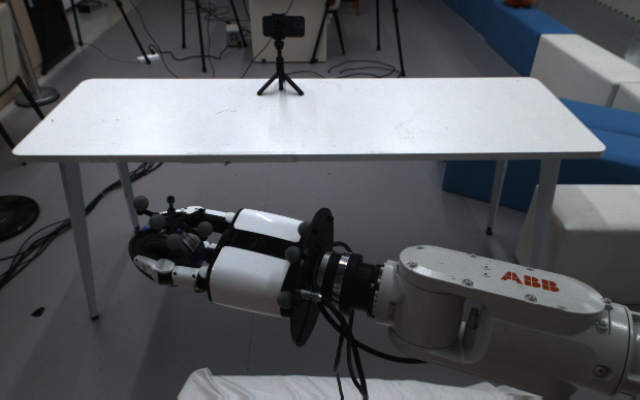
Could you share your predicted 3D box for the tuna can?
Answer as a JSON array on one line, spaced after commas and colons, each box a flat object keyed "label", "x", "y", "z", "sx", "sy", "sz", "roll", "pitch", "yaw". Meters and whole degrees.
[{"label": "tuna can", "x": -0.182, "y": 0.064, "z": 0.587, "sx": 0.085, "sy": 0.085, "sz": 0.034, "roll": 9, "pitch": 35, "yaw": 10}]
